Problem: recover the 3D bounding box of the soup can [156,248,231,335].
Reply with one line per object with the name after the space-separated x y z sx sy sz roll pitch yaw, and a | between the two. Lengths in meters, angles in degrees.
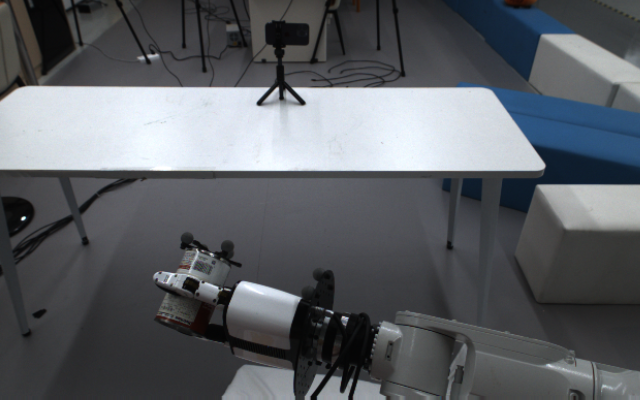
-0.166 0.125 0.645 0.067 0.067 0.101 13 66 15 | soup can
